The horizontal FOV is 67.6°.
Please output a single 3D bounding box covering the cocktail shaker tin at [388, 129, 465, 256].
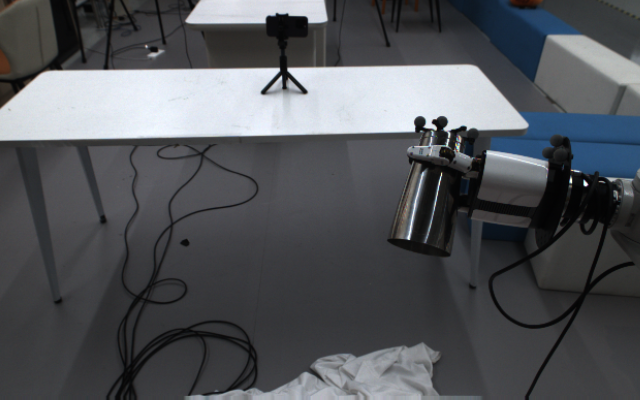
[{"bbox_3d":[0.165,-0.015,0.705,0.093,0.093,0.170,13,77,15],"label":"cocktail shaker tin"}]
